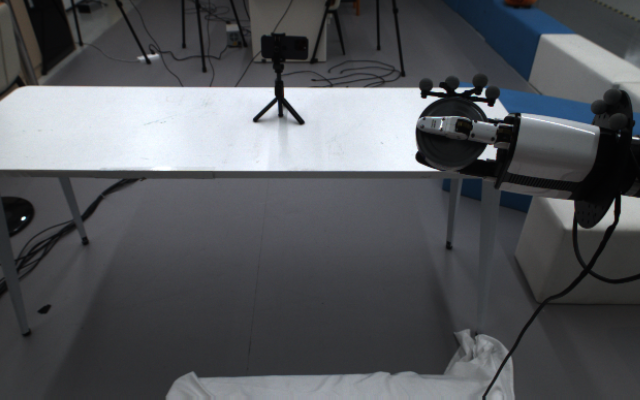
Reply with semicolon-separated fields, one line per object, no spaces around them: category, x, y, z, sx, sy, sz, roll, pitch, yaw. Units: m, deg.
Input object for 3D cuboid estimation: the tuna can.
tuna can;0.161;-0.084;0.588;0.085;0.085;0.034;11;-7;12
